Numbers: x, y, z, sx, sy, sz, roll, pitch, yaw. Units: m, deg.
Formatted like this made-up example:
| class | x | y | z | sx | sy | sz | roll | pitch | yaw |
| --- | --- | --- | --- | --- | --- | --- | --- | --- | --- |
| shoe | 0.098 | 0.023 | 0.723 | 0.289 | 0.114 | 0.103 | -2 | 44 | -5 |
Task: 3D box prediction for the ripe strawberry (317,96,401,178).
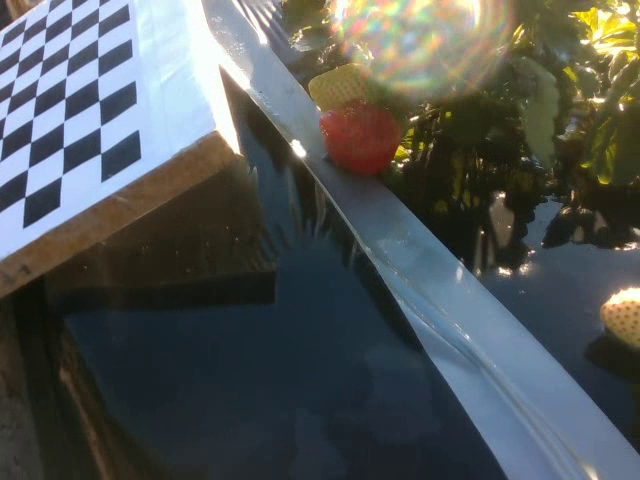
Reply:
| class | x | y | z | sx | sy | sz | roll | pitch | yaw |
| --- | --- | --- | --- | --- | --- | --- | --- | --- | --- |
| ripe strawberry | 0.017 | -0.057 | 0.325 | 0.045 | 0.049 | 0.063 | -12 | -10 | 28 |
